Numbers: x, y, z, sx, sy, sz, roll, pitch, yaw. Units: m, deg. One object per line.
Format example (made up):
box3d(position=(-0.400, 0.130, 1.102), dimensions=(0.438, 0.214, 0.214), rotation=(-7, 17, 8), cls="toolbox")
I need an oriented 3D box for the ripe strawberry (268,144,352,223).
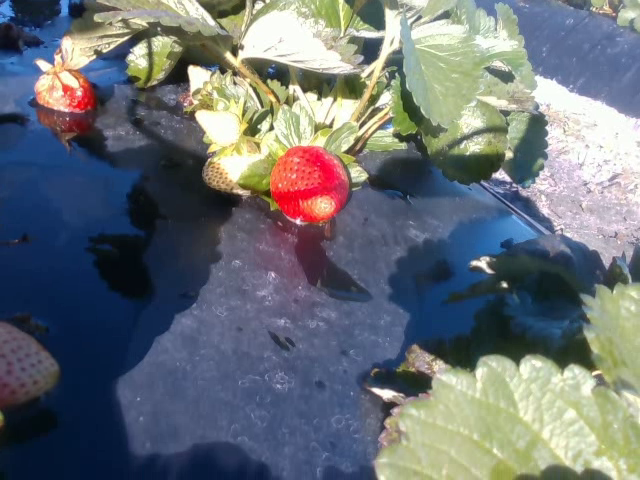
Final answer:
box3d(position=(-0.002, -0.024, 0.310), dimensions=(0.049, 0.052, 0.064), rotation=(-28, 32, -2), cls="ripe strawberry")
